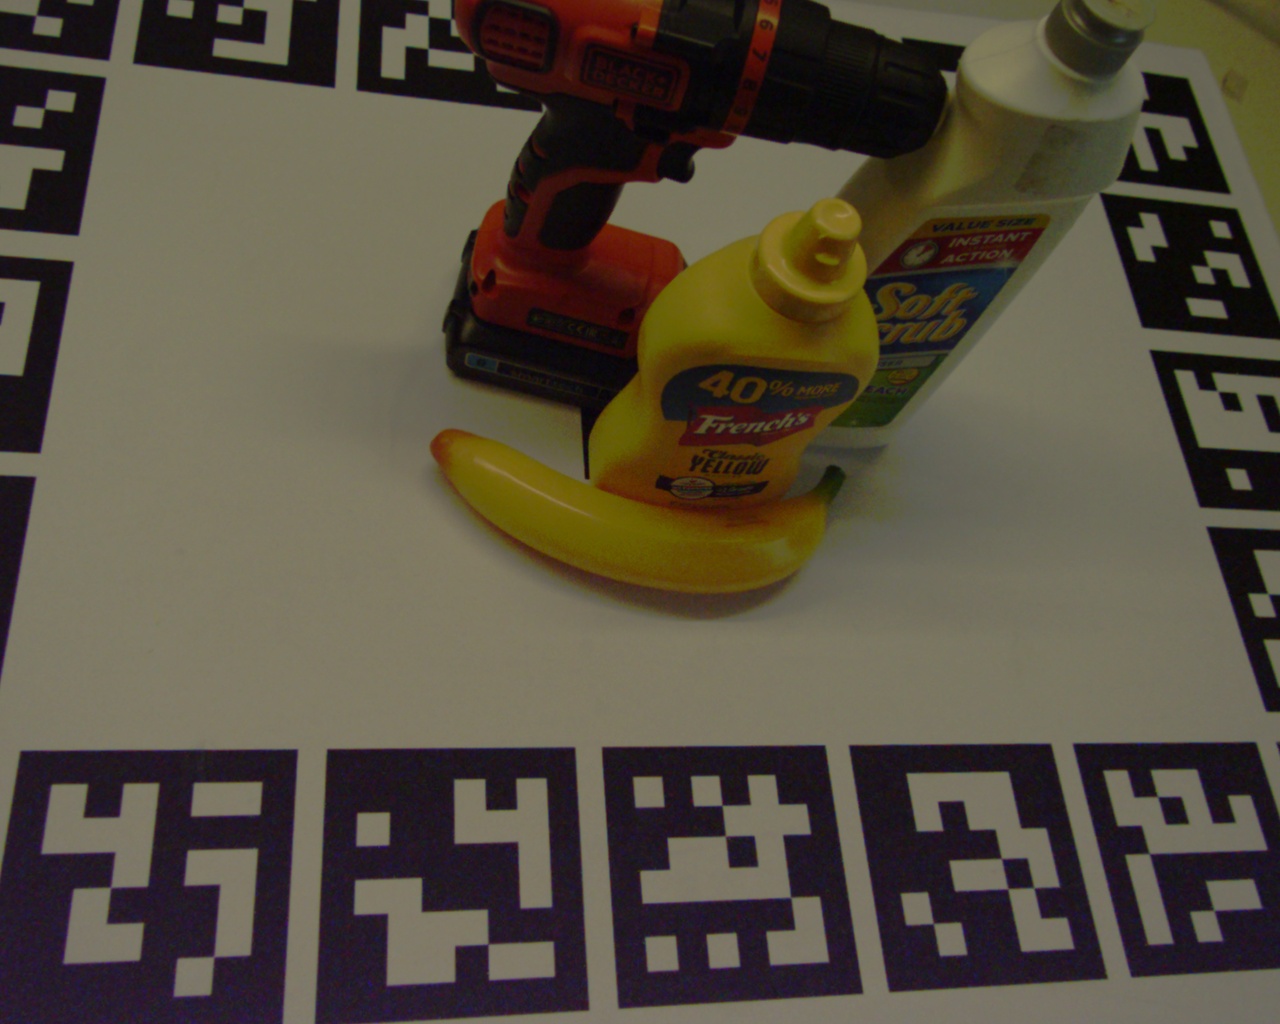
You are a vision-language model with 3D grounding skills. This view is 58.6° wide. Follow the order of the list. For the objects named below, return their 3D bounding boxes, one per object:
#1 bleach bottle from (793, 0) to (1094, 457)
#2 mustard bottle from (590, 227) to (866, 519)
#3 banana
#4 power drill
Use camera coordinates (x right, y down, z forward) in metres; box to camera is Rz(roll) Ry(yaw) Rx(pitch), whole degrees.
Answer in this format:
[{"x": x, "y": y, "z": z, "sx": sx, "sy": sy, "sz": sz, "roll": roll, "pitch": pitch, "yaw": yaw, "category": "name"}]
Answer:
[{"x": 0.113, "y": -0.118, "z": 0.515, "sx": 0.102, "sy": 0.251, "sz": 0.068, "roll": 5, "pitch": 59, "yaw": -13, "category": "bleach bottle"}, {"x": 0.043, "y": -0.058, "z": 0.496, "sx": 0.095, "sy": 0.192, "sz": 0.058, "roll": 3, "pitch": 65, "yaw": -15, "category": "mustard bottle"}, {"x": 0.005, "y": 0.003, "z": 0.555, "sx": 0.196, "sy": 0.039, "sz": 0.074, "roll": 6, "pitch": 65, "yaw": -9, "category": "banana"}, {"x": 0.004, "y": -0.133, "z": 0.499, "sx": 0.183, "sy": 0.188, "sz": 0.057, "roll": 14, "pitch": 62, "yaw": -10, "category": "power drill"}]
